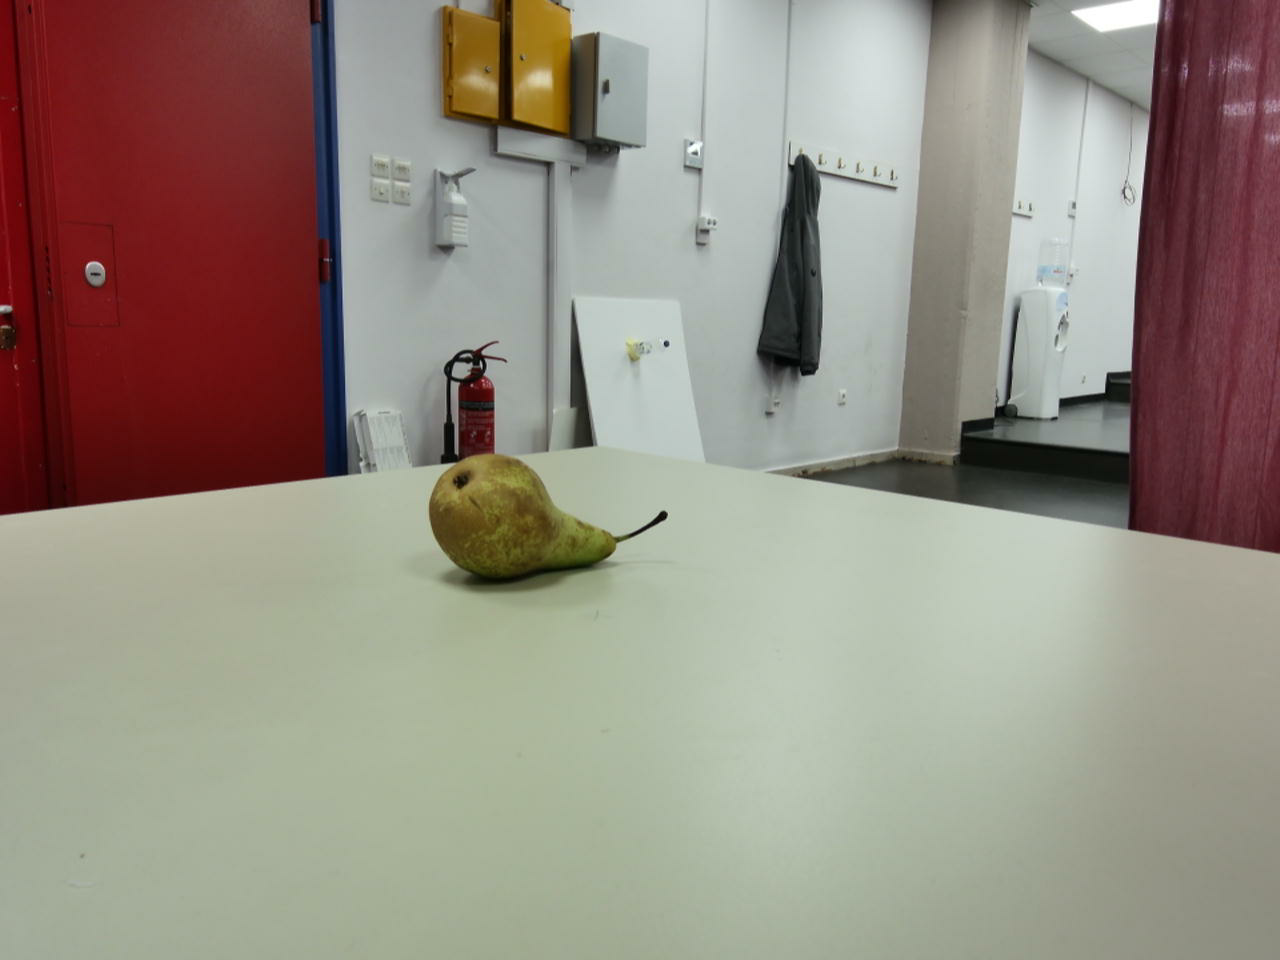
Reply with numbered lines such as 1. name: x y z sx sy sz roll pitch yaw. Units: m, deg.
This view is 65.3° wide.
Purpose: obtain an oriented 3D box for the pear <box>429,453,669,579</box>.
1. pear: -0.060 0.019 0.621 0.144 0.075 0.072 -7 10 -39
